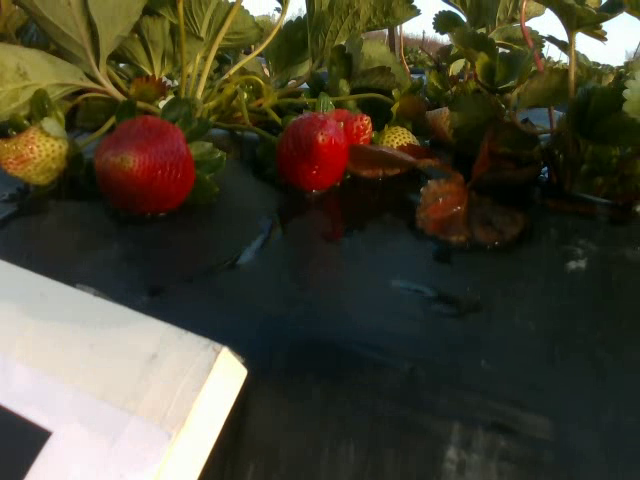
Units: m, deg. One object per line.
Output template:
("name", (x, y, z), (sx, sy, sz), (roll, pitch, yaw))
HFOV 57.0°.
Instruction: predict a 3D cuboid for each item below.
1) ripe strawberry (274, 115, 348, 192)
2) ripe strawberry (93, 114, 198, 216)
("ripe strawberry", (-0.004, -0.044, 0.296), (0.044, 0.042, 0.055), (-40, 5, -9))
("ripe strawberry", (-0.085, -0.037, 0.267), (0.050, 0.050, 0.065), (-21, 0, 5))
